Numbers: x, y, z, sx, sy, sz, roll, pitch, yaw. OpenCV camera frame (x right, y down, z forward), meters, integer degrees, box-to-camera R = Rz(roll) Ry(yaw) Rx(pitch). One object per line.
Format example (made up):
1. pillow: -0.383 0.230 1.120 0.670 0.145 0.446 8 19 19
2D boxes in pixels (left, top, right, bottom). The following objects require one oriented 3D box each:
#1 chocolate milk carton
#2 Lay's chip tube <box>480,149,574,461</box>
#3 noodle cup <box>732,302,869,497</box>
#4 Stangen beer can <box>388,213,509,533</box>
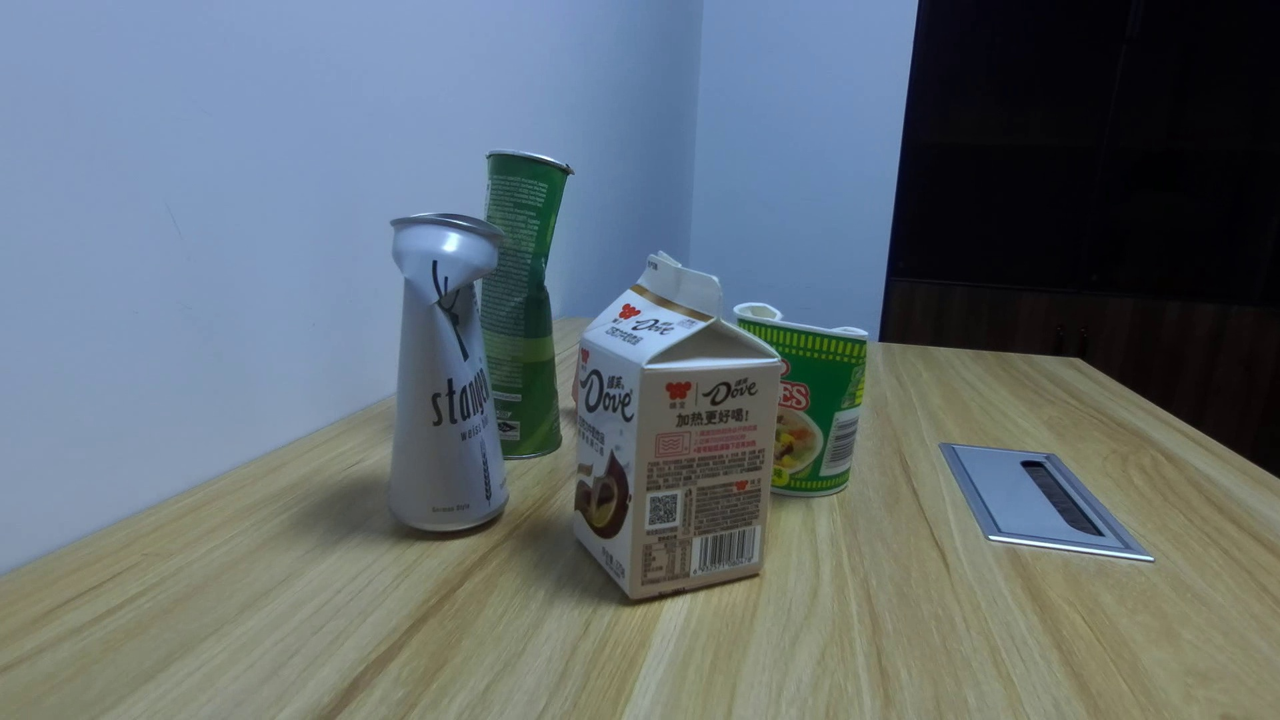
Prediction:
1. chocolate milk carton: 0.017 0.026 0.342 0.074 0.148 0.075 -3 14 -24
2. Lay's chip tube: -0.086 -0.037 0.482 0.077 0.201 0.069 9 15 15
3. noodle cup: 0.100 0.023 0.449 0.075 0.122 0.083 -5 23 7
4. Stangen beer can: -0.101 0.008 0.374 0.066 0.162 0.076 -9 19 -39
